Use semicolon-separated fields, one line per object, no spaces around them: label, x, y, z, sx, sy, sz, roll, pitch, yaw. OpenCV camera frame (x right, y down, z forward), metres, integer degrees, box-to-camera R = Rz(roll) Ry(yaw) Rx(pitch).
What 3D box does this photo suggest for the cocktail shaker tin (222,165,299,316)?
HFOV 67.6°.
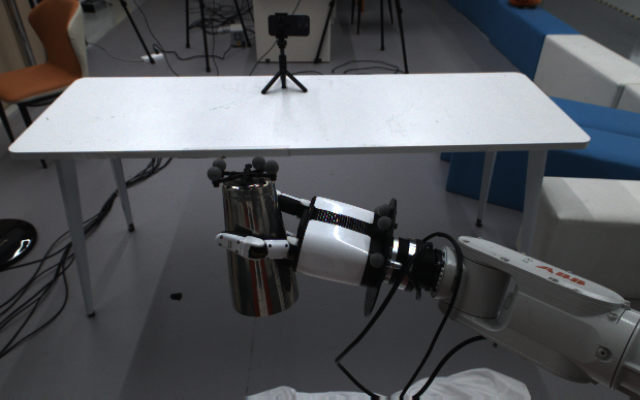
cocktail shaker tin;-0.083;0.056;0.635;0.093;0.170;0.093;-6;19;2
